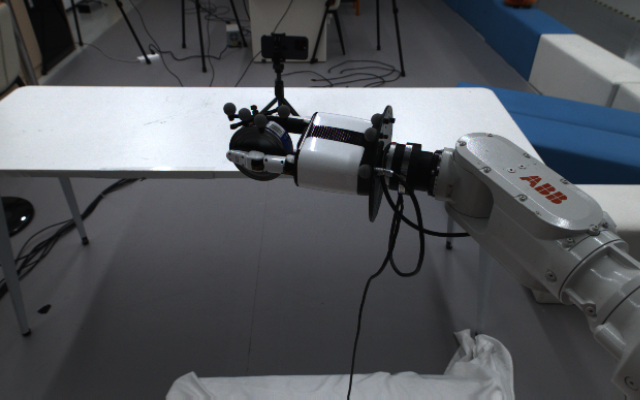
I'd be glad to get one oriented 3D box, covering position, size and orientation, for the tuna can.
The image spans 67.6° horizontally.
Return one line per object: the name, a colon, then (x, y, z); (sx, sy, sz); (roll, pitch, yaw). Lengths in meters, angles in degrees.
tuna can: (-0.082, -0.072, 0.687); (0.085, 0.085, 0.034); (11, 33, 12)
